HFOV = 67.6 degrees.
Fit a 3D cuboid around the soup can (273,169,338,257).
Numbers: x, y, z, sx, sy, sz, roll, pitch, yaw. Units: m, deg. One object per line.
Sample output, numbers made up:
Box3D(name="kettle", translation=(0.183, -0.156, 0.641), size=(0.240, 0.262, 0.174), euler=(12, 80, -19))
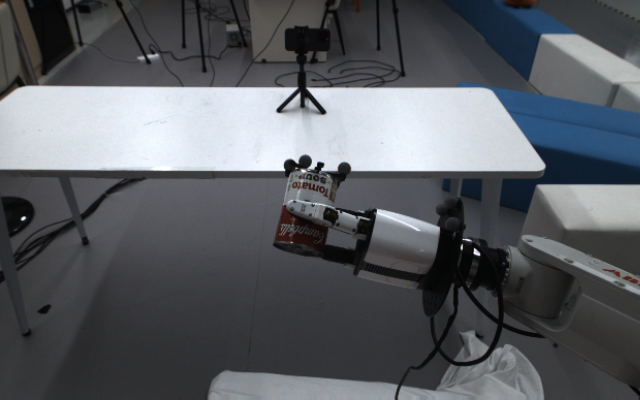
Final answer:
Box3D(name="soup can", translation=(-0.017, 0.017, 0.636), size=(0.067, 0.067, 0.101), euler=(9, 74, 9))
